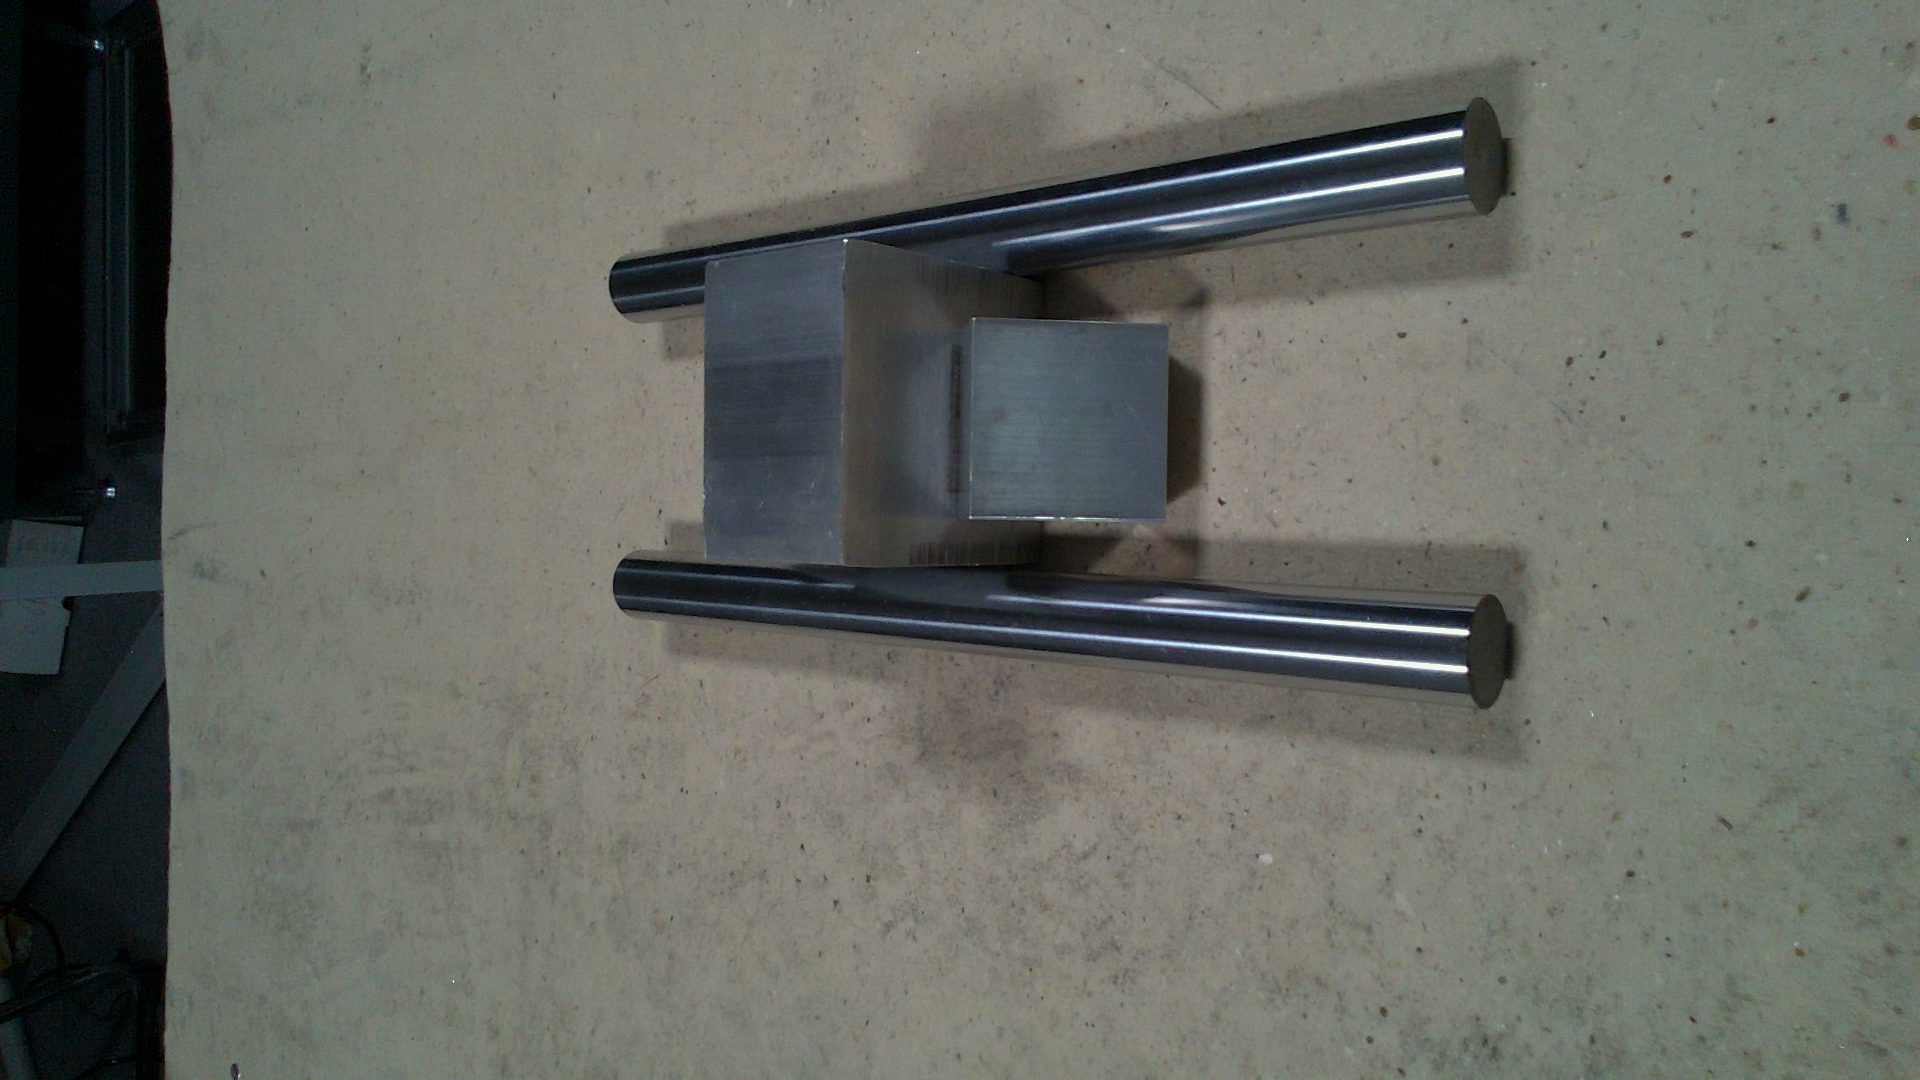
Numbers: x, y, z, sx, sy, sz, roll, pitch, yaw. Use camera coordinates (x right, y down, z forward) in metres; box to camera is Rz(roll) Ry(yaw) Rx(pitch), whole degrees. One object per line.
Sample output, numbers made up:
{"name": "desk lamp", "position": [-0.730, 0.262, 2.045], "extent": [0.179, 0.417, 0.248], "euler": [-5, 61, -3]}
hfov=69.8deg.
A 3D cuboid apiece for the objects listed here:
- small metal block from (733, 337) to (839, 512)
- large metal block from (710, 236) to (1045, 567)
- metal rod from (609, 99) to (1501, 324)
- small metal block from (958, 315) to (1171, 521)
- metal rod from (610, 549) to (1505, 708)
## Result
{"name": "small metal block", "position": [-0.052, -0.034, 0.421], "extent": [0.025, 0.050, 0.050], "euler": [0, 91, 1]}
{"name": "large metal block", "position": [-0.021, -0.034, 0.379], "extent": [0.050, 0.080, 0.080], "euler": [1, 91, 40]}
{"name": "metal rod", "position": [-0.001, -0.086, 0.395], "extent": [0.299, 0.025, 0.025], "euler": [2, 91, 40]}
{"name": "small metal block", "position": [0.026, -0.030, 0.355], "extent": [0.025, 0.050, 0.050], "euler": [-179, 89, -82]}
{"name": "metal rod", "position": [0.000, 0.020, 0.395], "extent": [0.299, 0.025, 0.025], "euler": [2, 92, 40]}
